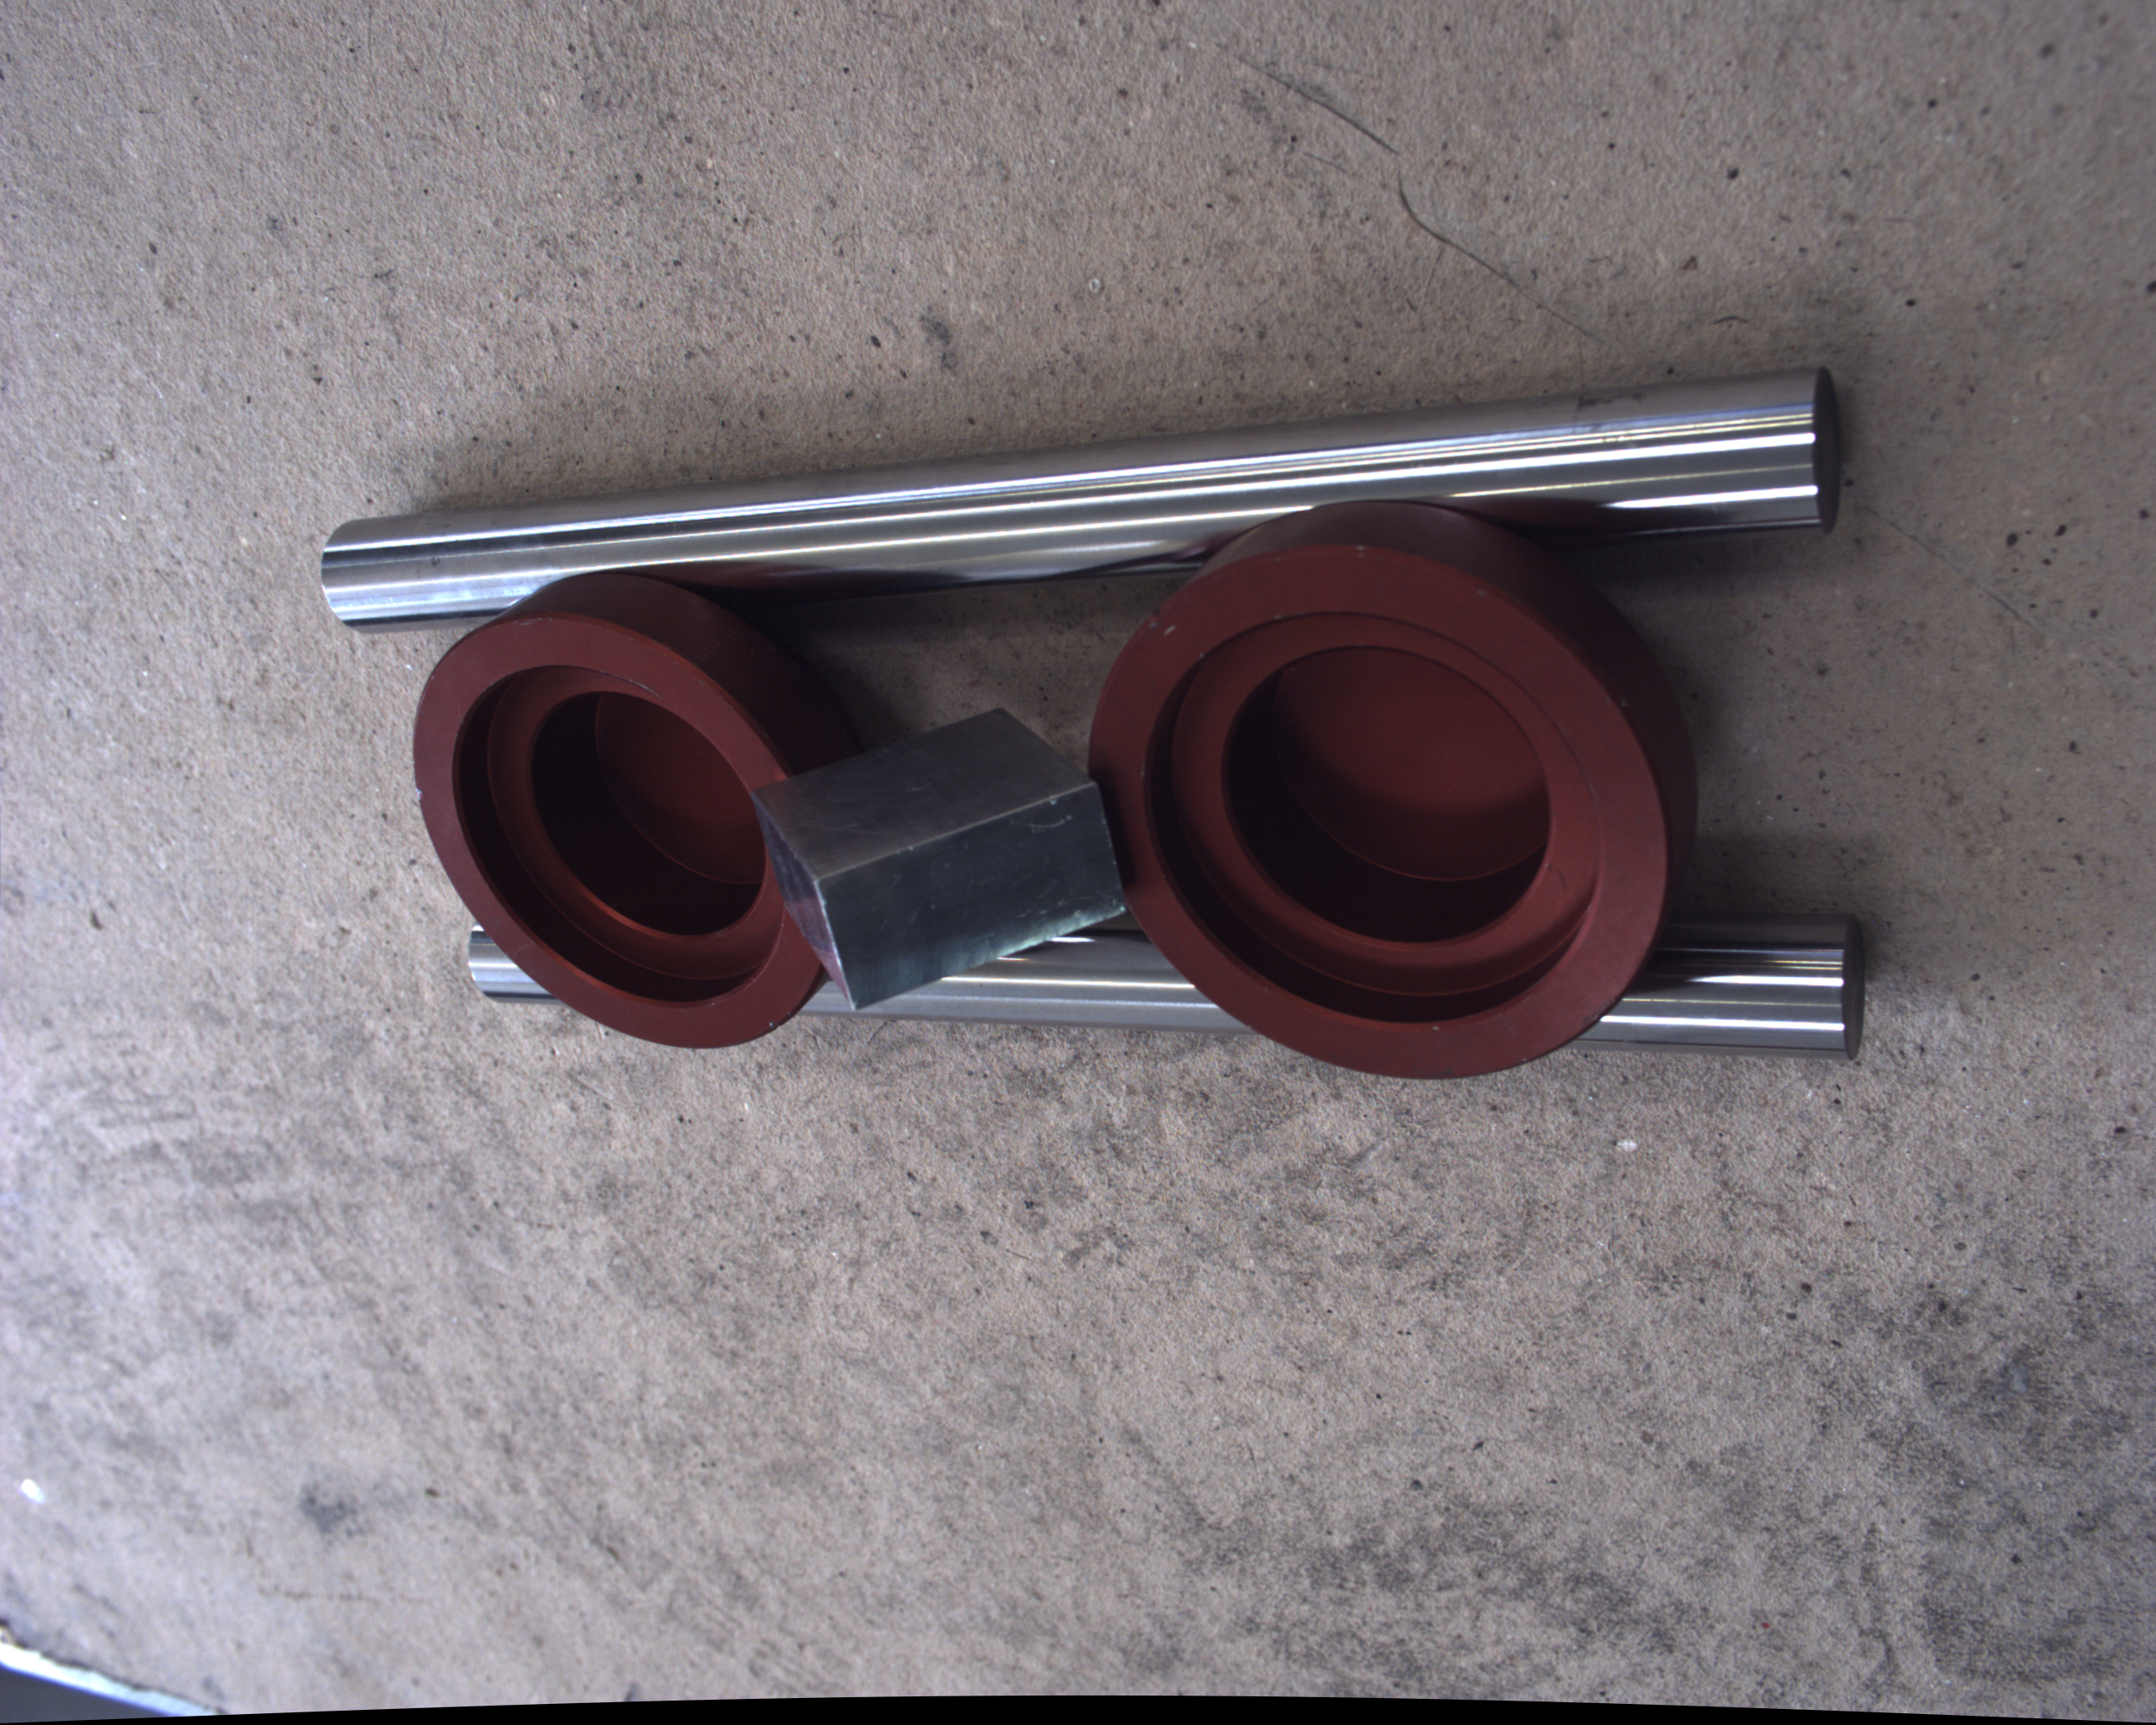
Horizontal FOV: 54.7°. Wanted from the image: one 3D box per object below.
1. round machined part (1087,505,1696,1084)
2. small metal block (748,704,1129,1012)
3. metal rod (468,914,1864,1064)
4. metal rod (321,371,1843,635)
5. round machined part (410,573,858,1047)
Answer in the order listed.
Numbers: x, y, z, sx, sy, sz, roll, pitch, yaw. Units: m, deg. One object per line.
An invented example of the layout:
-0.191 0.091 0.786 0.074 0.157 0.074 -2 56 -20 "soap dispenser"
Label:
0.054 -0.014 0.353 0.098 0.042 0.097 13 124 21 "round machined part"
-0.026 -0.002 0.370 0.050 0.050 0.025 -138 31 -61 "small metal block"
-0.002 0.021 0.422 0.300 0.025 0.025 0 119 28 "metal rod"
-0.021 -0.061 0.381 0.300 0.025 0.025 0 119 28 "metal rod"
-0.083 -0.014 0.427 0.098 0.042 0.097 13 124 21 "round machined part"
